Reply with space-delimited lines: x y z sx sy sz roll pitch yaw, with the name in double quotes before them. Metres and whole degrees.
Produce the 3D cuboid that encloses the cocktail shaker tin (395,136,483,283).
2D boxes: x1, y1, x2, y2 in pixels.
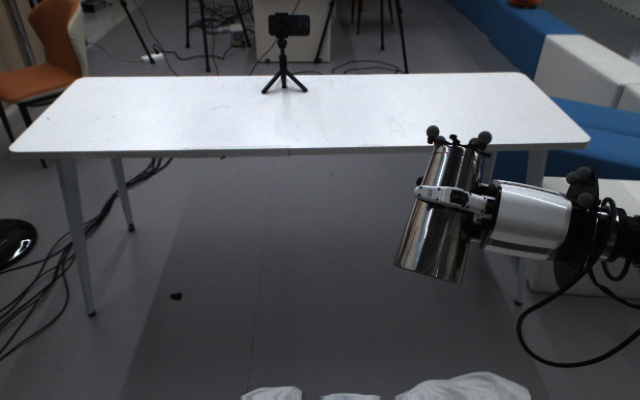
"cocktail shaker tin" 0.162 0.016 0.645 0.093 0.170 0.093 16 -6 2
